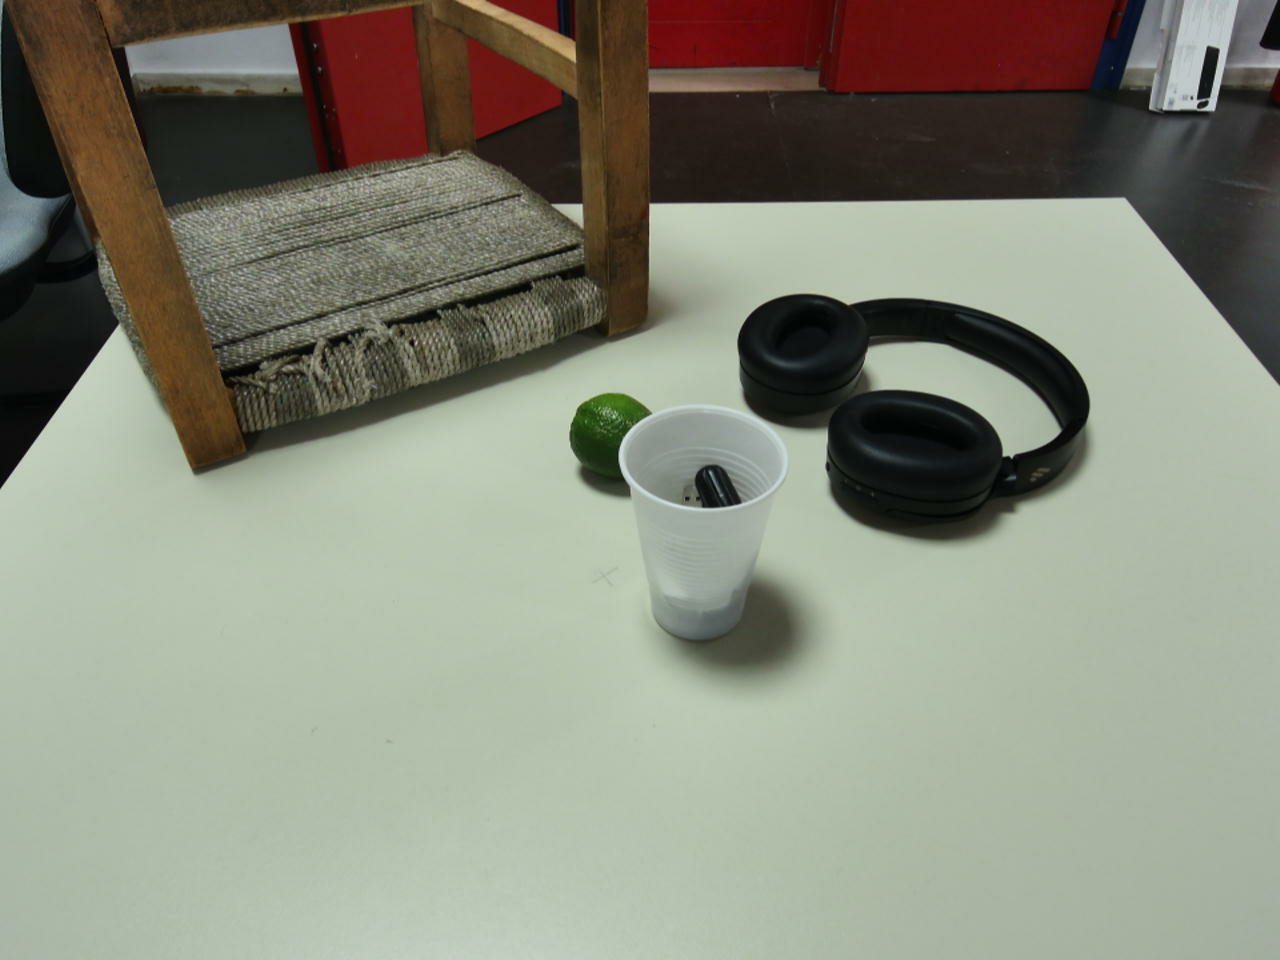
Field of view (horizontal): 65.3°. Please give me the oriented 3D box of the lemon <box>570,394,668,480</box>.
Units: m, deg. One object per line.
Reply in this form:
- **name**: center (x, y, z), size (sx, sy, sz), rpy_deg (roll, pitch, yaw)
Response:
- **lemon**: center (-0.013, -0.027, 0.602), size (0.057, 0.051, 0.054), rpy_deg (-3, 39, -3)
